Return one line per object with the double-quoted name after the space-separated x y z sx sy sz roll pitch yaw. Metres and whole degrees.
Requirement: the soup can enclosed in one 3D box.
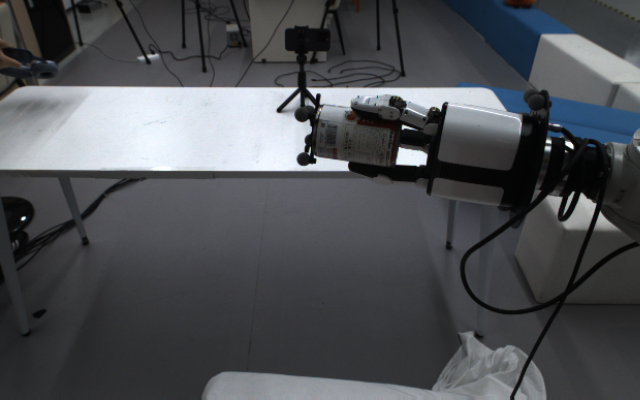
0.050 -0.080 0.599 0.101 0.067 0.067 9 35 9 "soup can"
